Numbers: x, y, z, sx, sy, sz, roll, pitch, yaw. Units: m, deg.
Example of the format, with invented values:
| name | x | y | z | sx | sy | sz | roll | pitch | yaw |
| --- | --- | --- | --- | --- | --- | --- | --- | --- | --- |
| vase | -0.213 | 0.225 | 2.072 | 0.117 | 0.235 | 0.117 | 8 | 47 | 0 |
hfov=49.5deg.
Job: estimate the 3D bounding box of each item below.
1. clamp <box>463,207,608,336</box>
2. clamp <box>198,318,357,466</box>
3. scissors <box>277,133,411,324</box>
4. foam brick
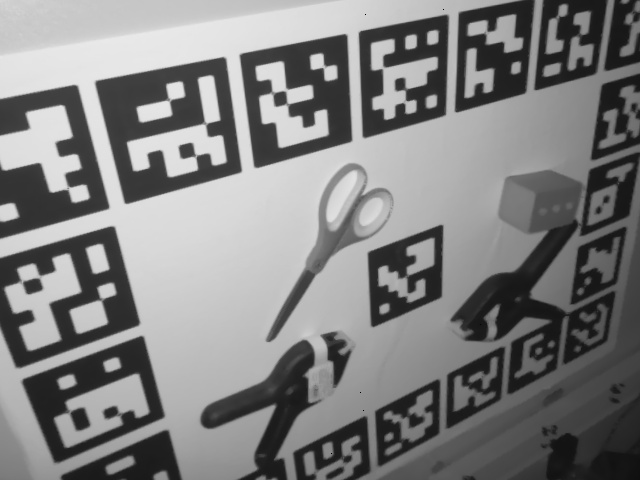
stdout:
| name | x | y | z | sx | sy | sz | roll | pitch | yaw |
| --- | --- | --- | --- | --- | --- | --- | --- | --- | --- |
| clamp | 0.265 | 0.061 | 0.843 | 0.205 | 0.036 | 0.164 | -21 | 123 | -20 |
| clamp | -0.028 | 0.144 | 0.714 | 0.166 | 0.036 | 0.122 | -42 | 119 | -8 |
| scissors | 0.013 | -0.003 | 0.675 | 0.088 | 0.016 | 0.202 | 27 | 98 | -28 |
| foam brick | 0.270 | -0.062 | 0.785 | 0.079 | 0.051 | 0.052 | -12 | 116 | -30 |
